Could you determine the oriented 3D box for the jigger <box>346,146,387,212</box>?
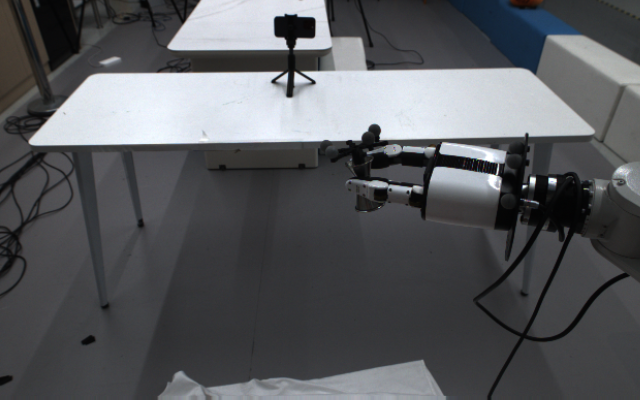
[{"bbox_3d":[0.062,-0.023,0.662,0.043,0.071,0.043,-14,21,6],"label":"jigger"}]
